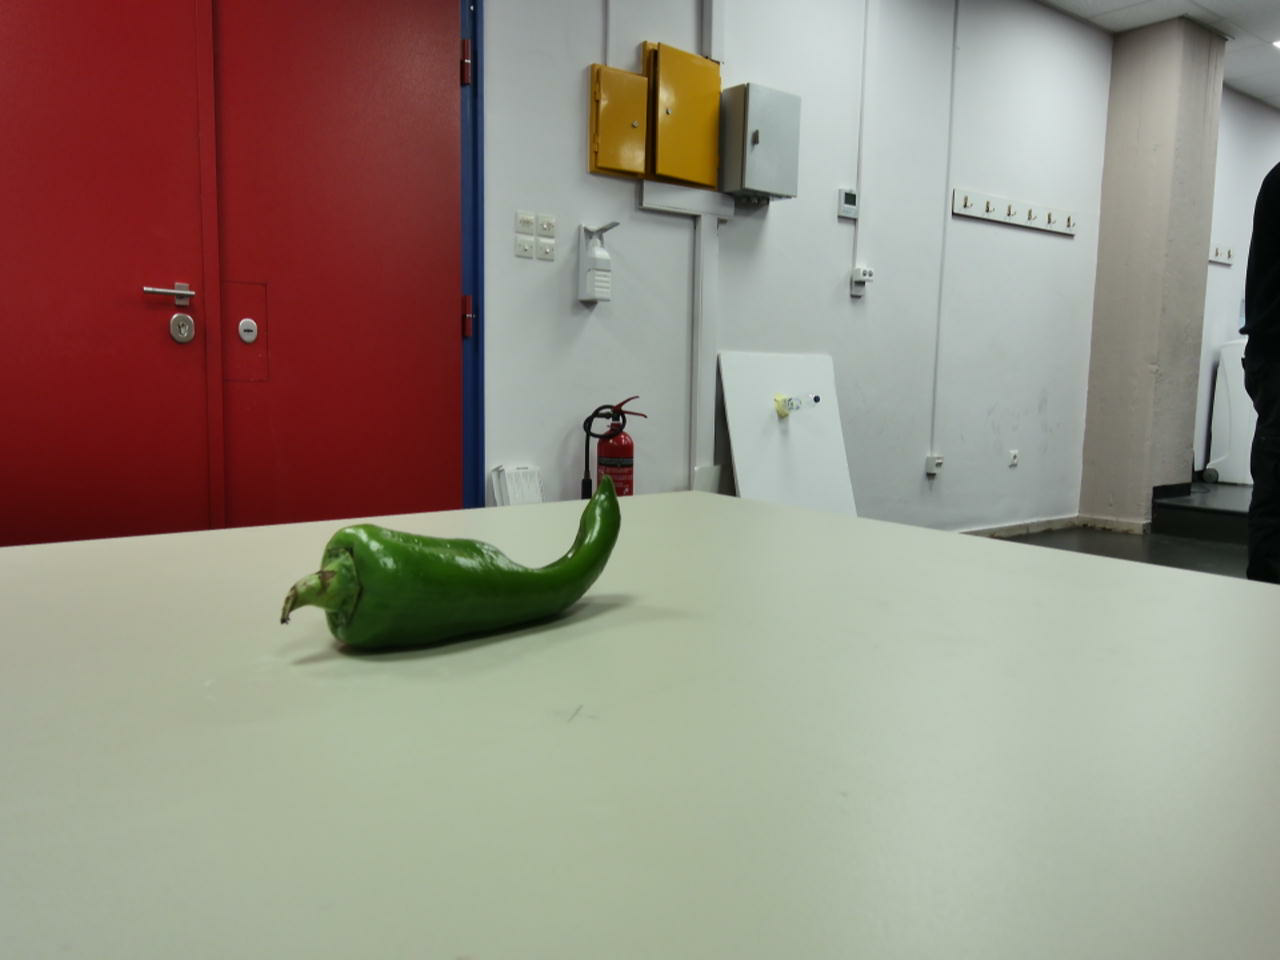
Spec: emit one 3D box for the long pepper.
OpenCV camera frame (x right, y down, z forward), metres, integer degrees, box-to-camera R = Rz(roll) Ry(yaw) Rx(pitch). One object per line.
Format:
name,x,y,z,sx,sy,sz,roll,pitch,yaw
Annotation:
long pepper,-0.073,0.035,0.443,0.175,0.065,0.058,-4,5,-40
